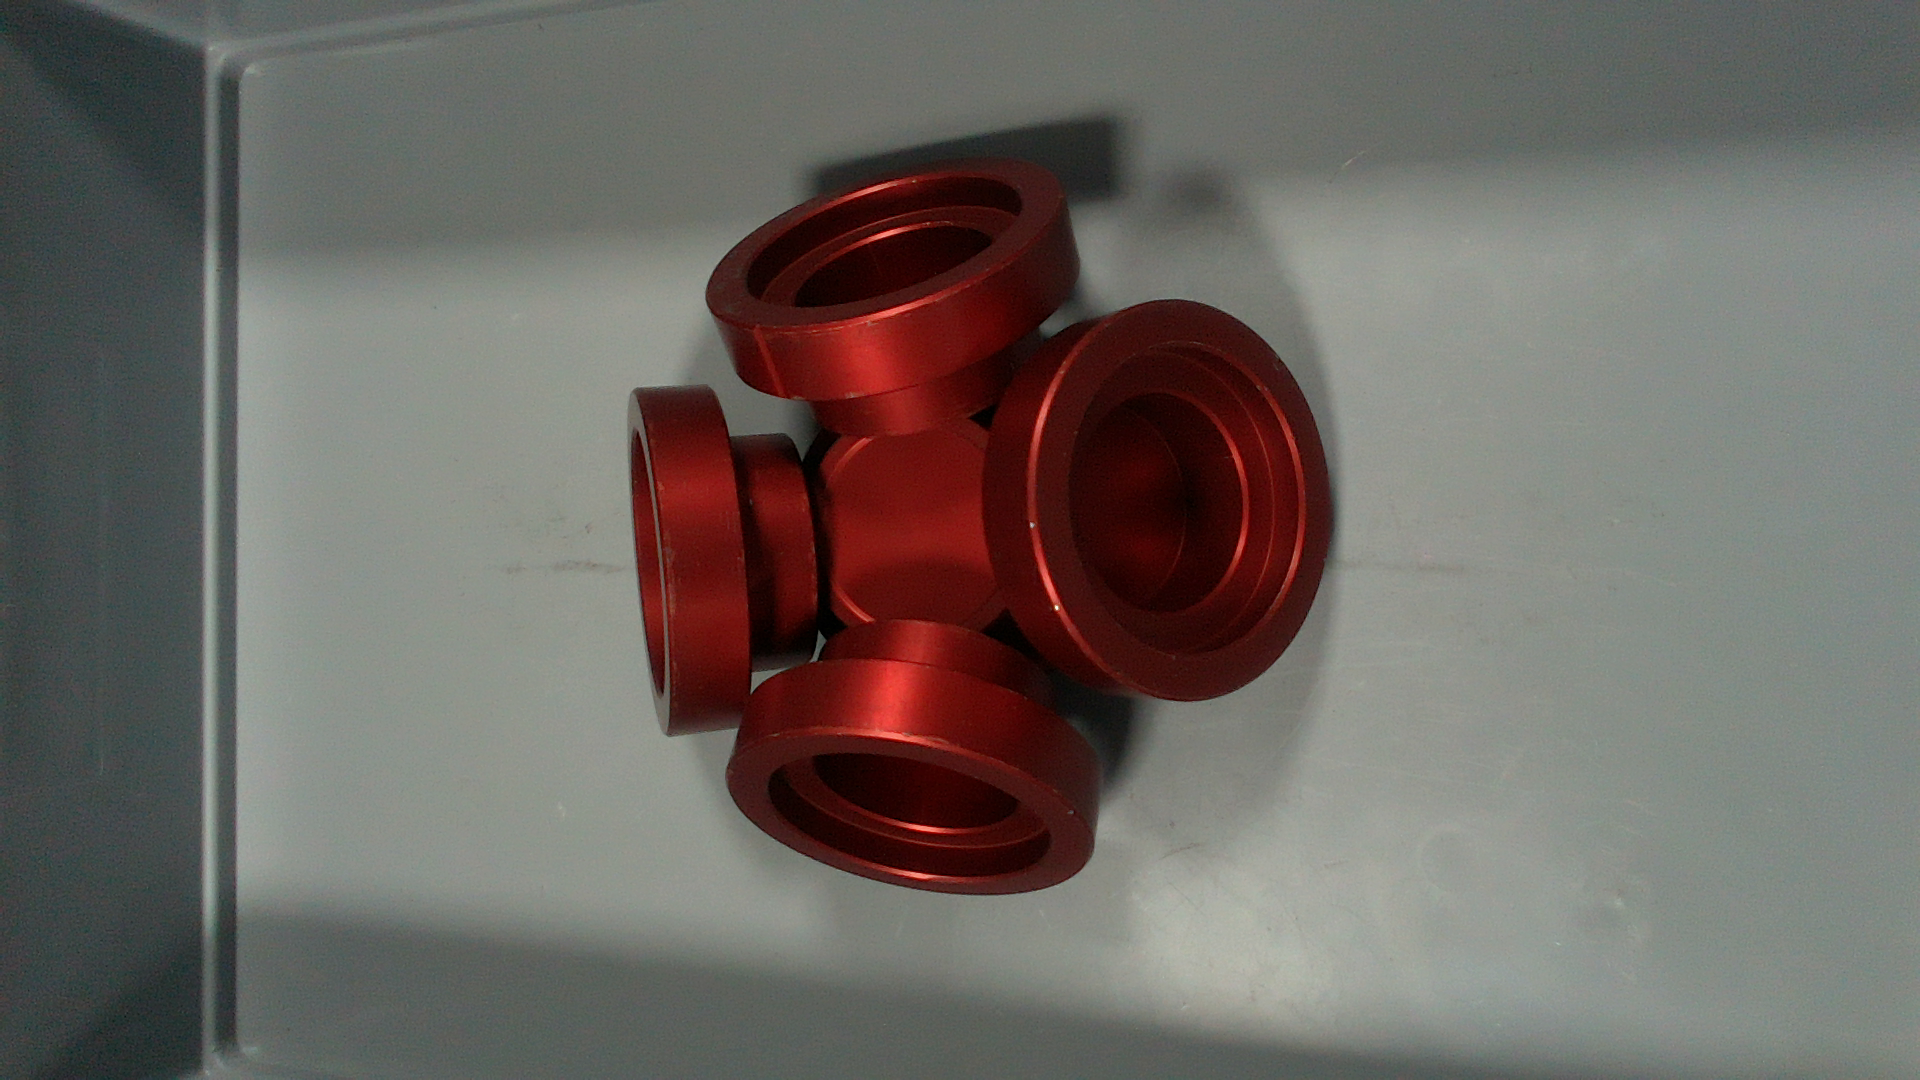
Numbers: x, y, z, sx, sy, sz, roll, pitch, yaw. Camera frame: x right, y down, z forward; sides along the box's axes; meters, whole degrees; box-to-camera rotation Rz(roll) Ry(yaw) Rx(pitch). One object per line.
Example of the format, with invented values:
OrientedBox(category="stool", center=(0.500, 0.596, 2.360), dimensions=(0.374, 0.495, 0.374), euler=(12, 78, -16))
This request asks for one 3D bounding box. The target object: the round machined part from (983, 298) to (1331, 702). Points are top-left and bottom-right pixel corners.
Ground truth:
OrientedBox(category="round machined part", center=(0.046, -0.009, 0.350), dimensions=(0.042, 0.098, 0.098), euler=(-4, 88, 56))

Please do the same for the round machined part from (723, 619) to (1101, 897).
OrientedBox(category="round machined part", center=(-0.010, 0.057, 0.369), dimensions=(0.098, 0.098, 0.042), euler=(-2, 53, 20))

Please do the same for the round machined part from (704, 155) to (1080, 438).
OrientedBox(category="round machined part", center=(-0.015, -0.063, 0.371), dimensions=(0.098, 0.098, 0.042), euler=(-4, 126, 20))

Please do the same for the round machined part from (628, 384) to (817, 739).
OrientedBox(category="round machined part", center=(-0.068, 0.005, 0.391), dimensions=(0.042, 0.098, 0.098), euler=(-5, 88, -17))

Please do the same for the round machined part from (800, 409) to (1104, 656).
OrientedBox(category="round machined part", center=(-0.005, -0.003, 0.387), dimensions=(0.098, 0.042, 0.098), euler=(0, 90, 20))
